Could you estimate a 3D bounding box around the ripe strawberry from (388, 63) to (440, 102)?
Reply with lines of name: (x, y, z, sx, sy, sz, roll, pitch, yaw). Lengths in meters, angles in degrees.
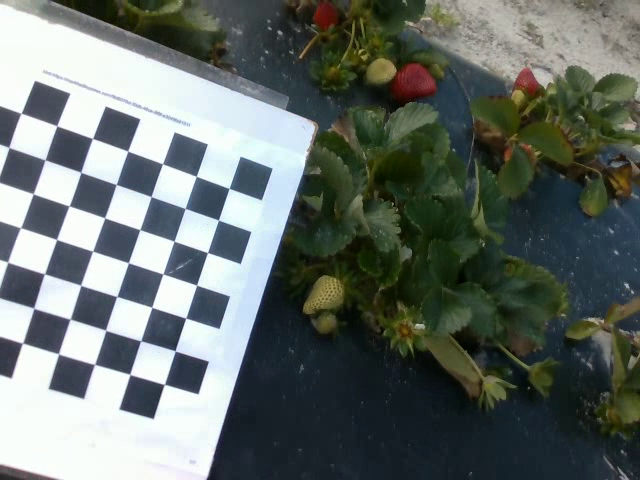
ripe strawberry: (0.113, -0.181, 0.699, 0.051, 0.048, 0.055, -38, 40, -7)
